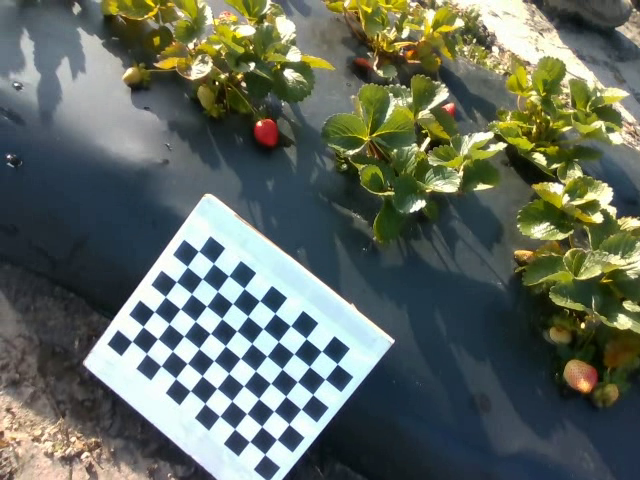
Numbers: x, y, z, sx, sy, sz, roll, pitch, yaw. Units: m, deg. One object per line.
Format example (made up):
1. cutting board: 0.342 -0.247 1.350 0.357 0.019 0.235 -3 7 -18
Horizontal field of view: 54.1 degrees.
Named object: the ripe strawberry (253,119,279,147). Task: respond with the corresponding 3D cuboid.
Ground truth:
1. ripe strawberry: -0.062 -0.126 0.751 0.030 0.045 0.033 -23 -32 11
